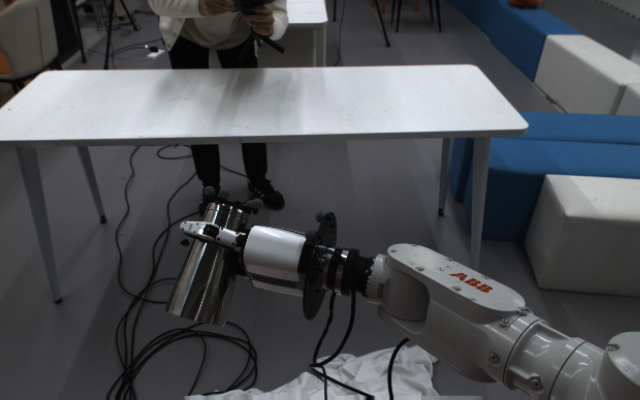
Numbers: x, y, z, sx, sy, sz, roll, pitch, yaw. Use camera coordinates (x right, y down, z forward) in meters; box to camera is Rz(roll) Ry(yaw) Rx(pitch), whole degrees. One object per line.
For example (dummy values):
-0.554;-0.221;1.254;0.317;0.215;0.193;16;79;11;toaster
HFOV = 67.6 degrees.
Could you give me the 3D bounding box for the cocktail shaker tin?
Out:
-0.161;0.092;0.732;0.093;0.093;0.170;13;78;15;cocktail shaker tin
